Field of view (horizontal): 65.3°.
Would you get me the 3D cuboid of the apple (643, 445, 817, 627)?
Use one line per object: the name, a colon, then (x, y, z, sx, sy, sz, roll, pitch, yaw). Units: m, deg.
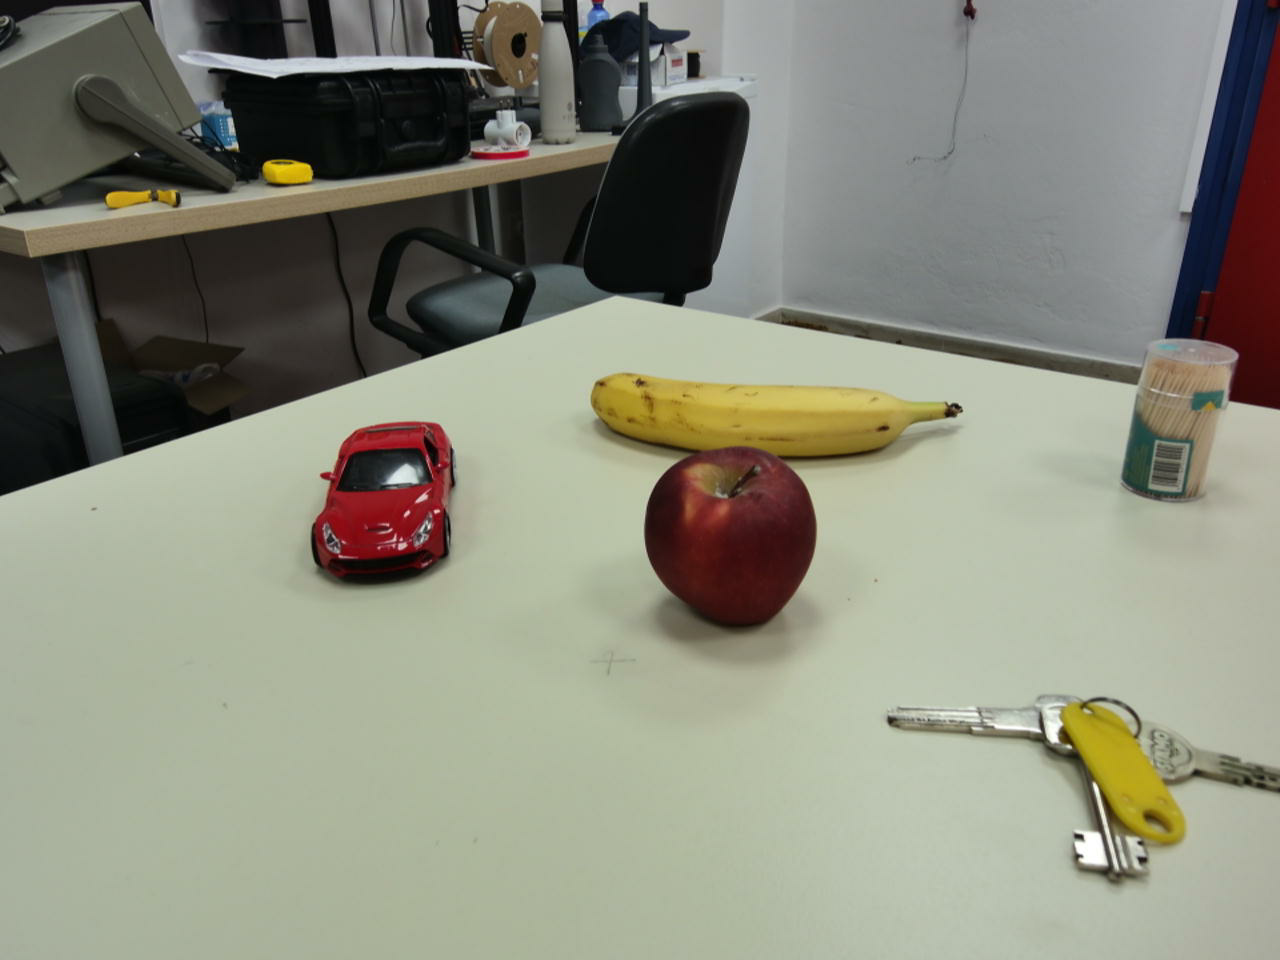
apple: (0.037, 0.022, 0.402, 0.070, 0.072, 0.070, 1, 23, 0)
